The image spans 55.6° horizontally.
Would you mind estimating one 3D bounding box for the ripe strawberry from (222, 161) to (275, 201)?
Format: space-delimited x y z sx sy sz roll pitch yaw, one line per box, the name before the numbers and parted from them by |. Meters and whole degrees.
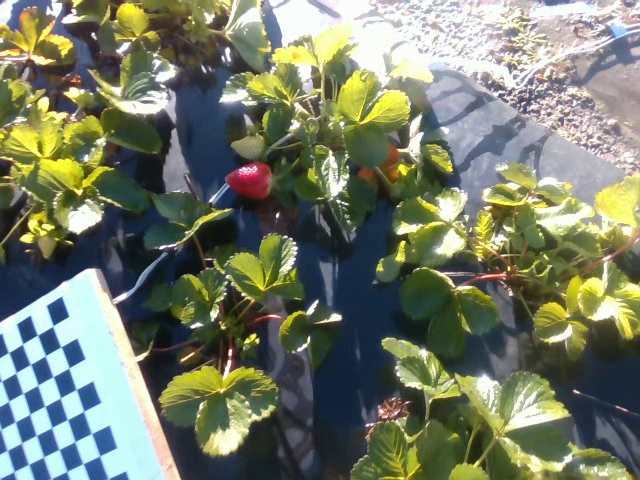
ripe strawberry | -0.093 -0.082 0.803 0.080 0.063 0.040 1 3 -20
